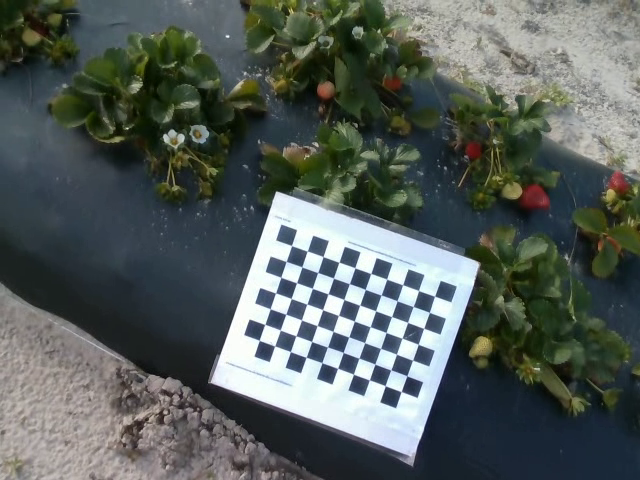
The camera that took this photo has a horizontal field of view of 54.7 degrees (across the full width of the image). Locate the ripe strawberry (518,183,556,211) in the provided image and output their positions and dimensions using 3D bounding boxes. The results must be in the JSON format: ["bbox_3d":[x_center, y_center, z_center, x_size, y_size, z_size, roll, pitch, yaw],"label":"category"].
[{"bbox_3d":[0.386,-0.072,1.095,0.051,0.048,0.055,-37,35,2],"label":"ripe strawberry"}]
